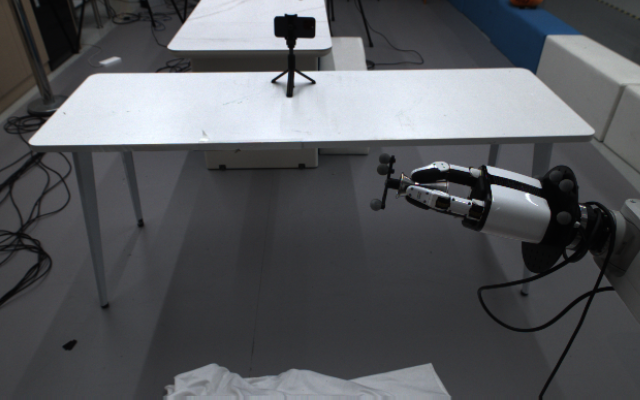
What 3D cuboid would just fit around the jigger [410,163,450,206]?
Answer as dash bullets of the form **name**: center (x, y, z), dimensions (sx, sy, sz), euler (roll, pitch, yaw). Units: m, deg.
- **jigger**: center (0.155, -0.018, 0.705), dimensions (0.071, 0.043, 0.043), euler (12, 36, 5)
